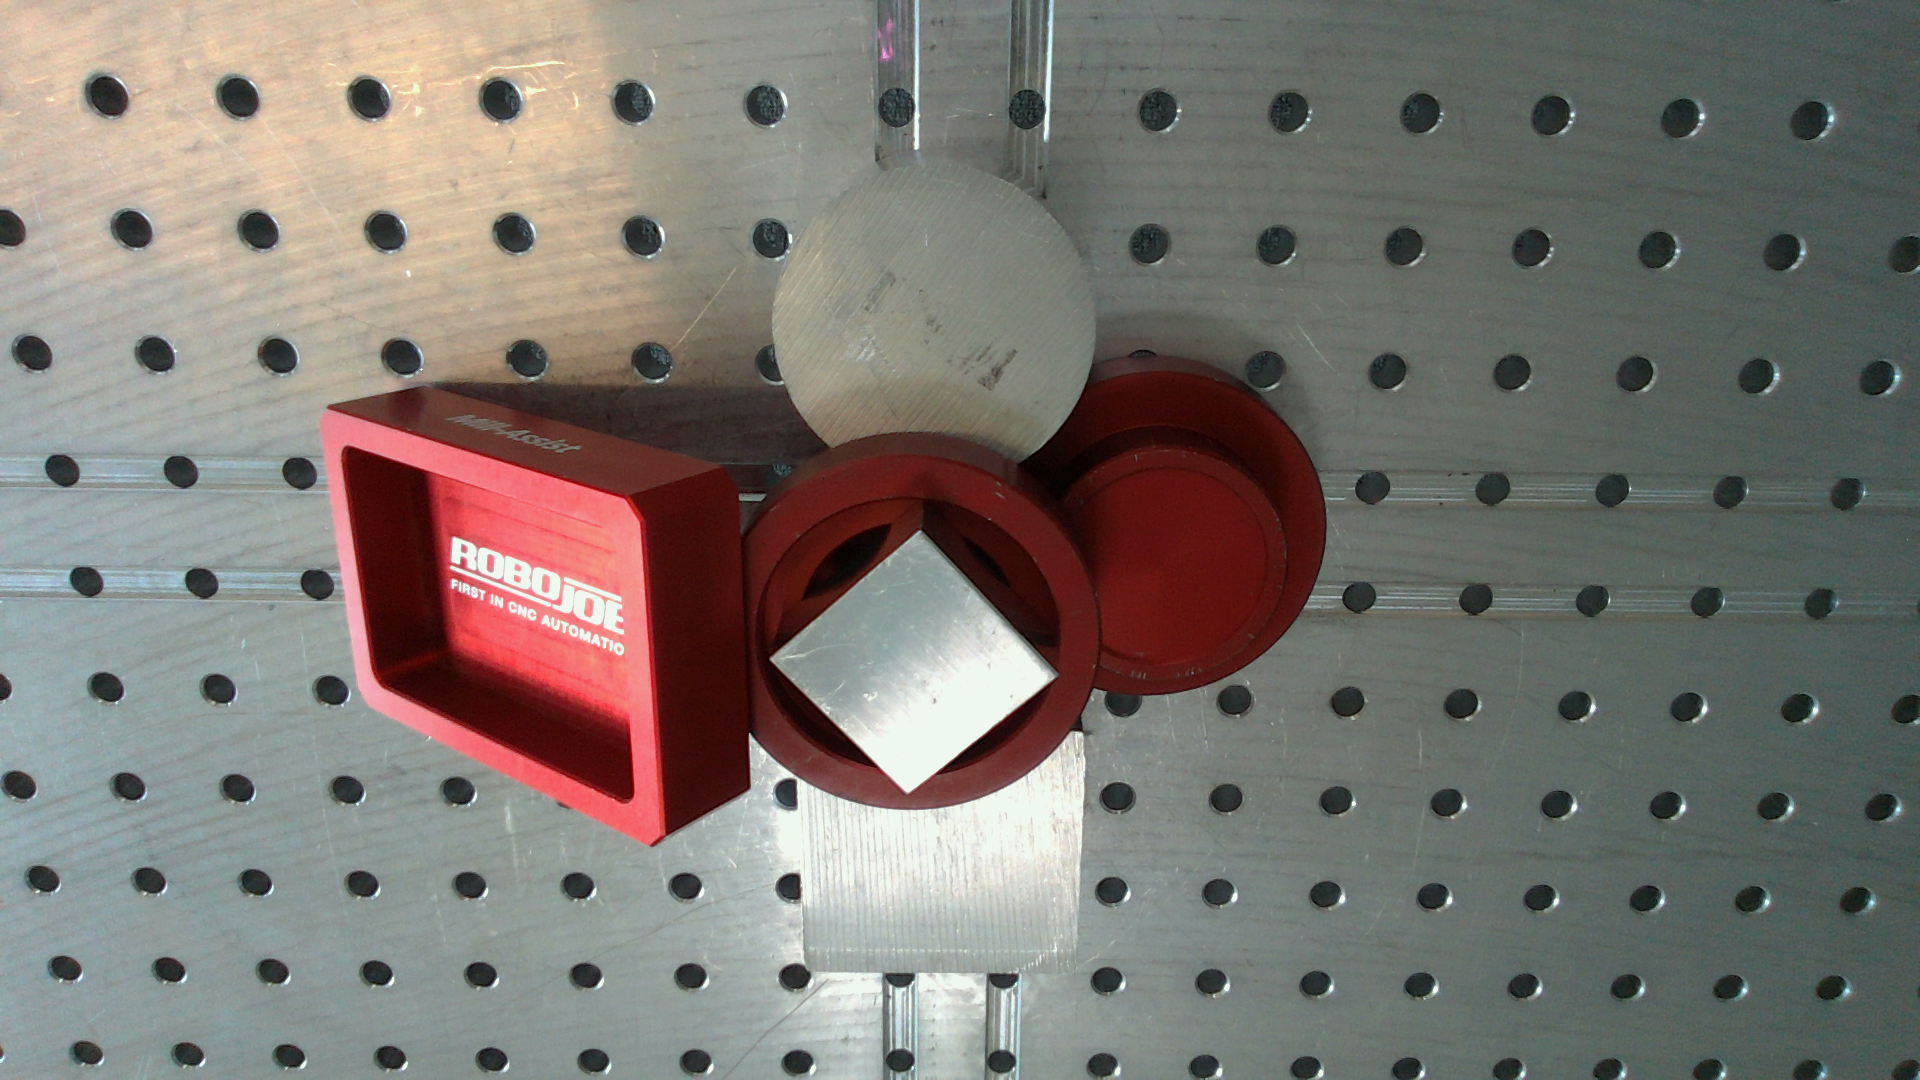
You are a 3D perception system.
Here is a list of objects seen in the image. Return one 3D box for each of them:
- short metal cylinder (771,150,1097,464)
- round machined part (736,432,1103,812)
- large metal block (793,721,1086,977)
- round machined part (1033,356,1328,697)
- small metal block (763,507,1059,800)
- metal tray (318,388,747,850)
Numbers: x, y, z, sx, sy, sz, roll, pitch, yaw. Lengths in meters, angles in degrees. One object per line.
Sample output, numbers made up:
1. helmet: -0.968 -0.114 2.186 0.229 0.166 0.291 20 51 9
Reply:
1. short metal cylinder: -0.006 -0.060 0.361 0.080 0.050 0.080 0 110 0
2. round machined part: -0.013 0.018 0.363 0.098 0.042 0.098 0 110 0
3. large metal block: -0.006 0.081 0.410 0.080 0.050 0.080 1 110 0
4. round machined part: 0.055 0.000 0.386 0.098 0.042 0.098 0 110 0
5. small metal block: -0.012 0.027 0.341 0.050 0.025 0.050 -40 106 13
6. metal tray: -0.114 0.016 0.360 0.130 0.030 0.090 15 115 34
